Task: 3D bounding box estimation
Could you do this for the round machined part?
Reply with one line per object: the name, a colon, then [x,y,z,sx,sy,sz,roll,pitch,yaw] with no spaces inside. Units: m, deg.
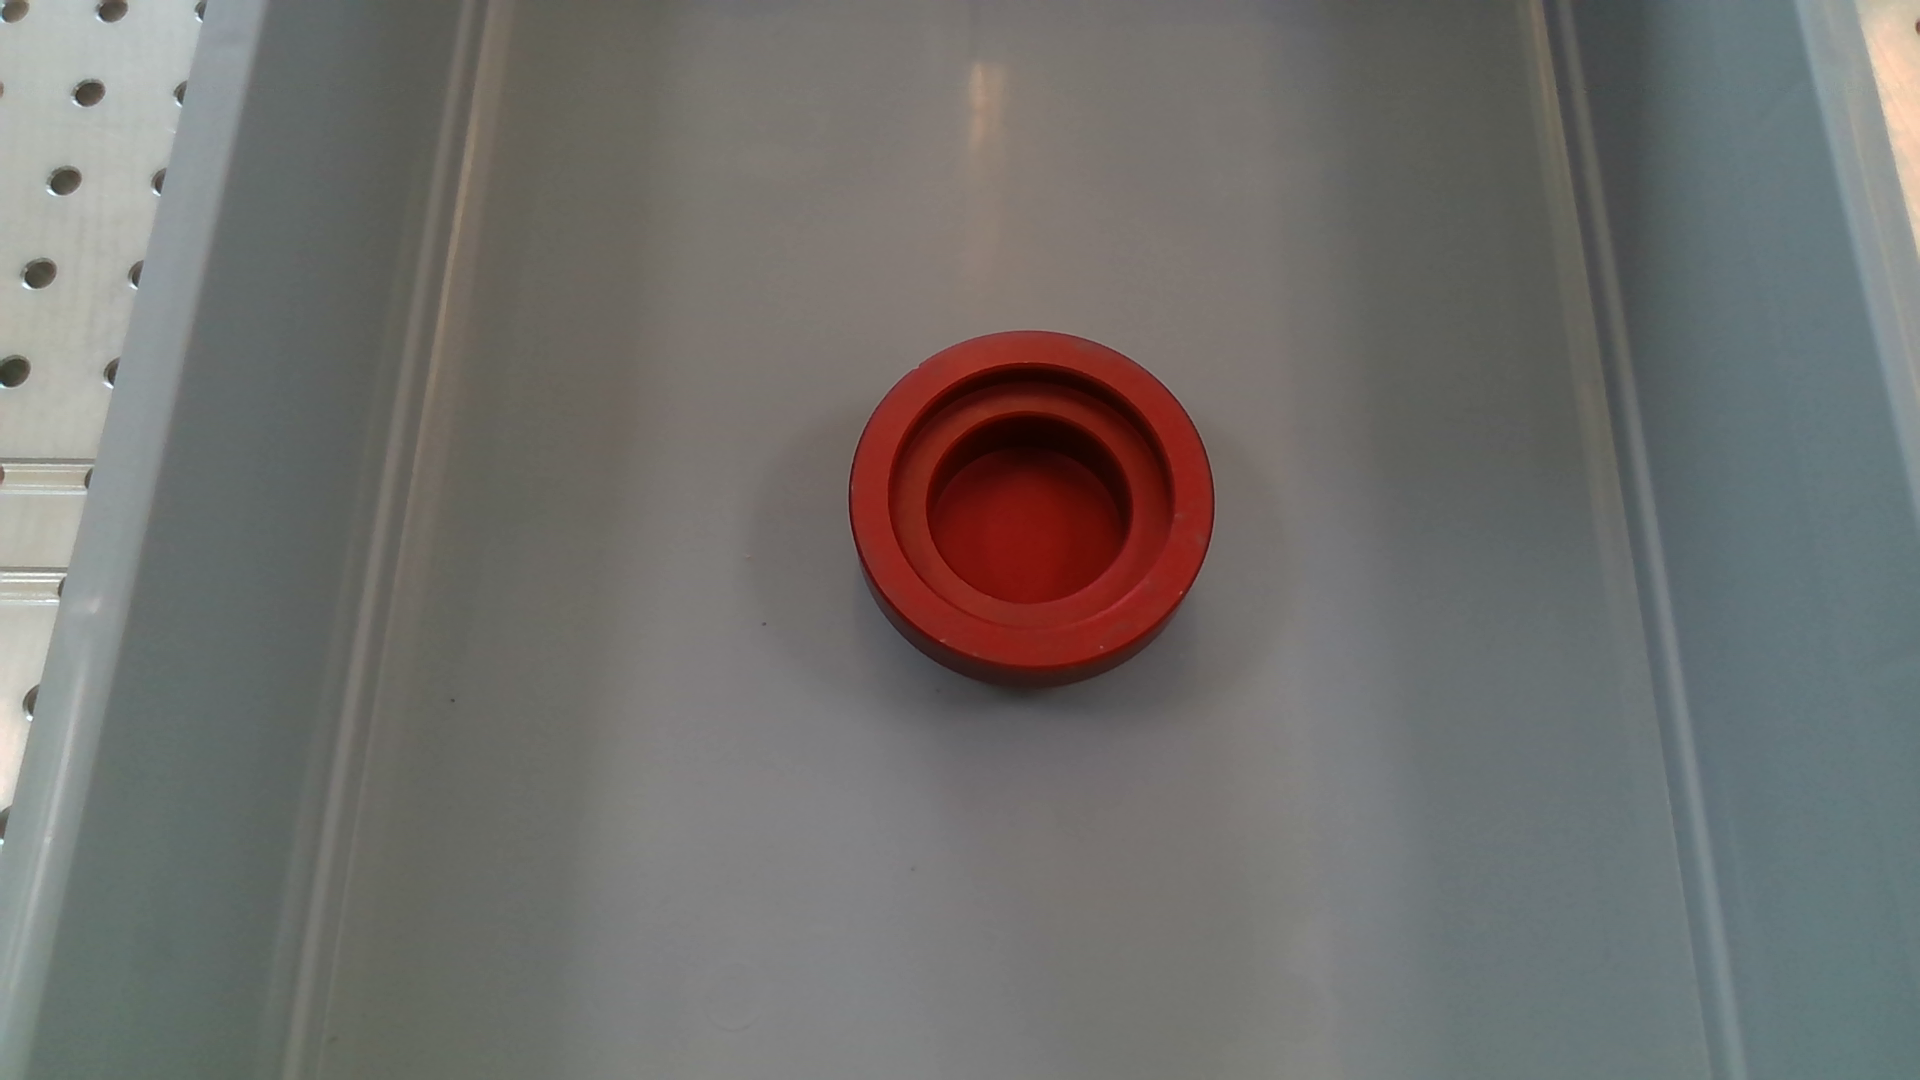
round machined part: [0.019,-0.006,0.386,0.098,0.042,0.098,0,70,0]
